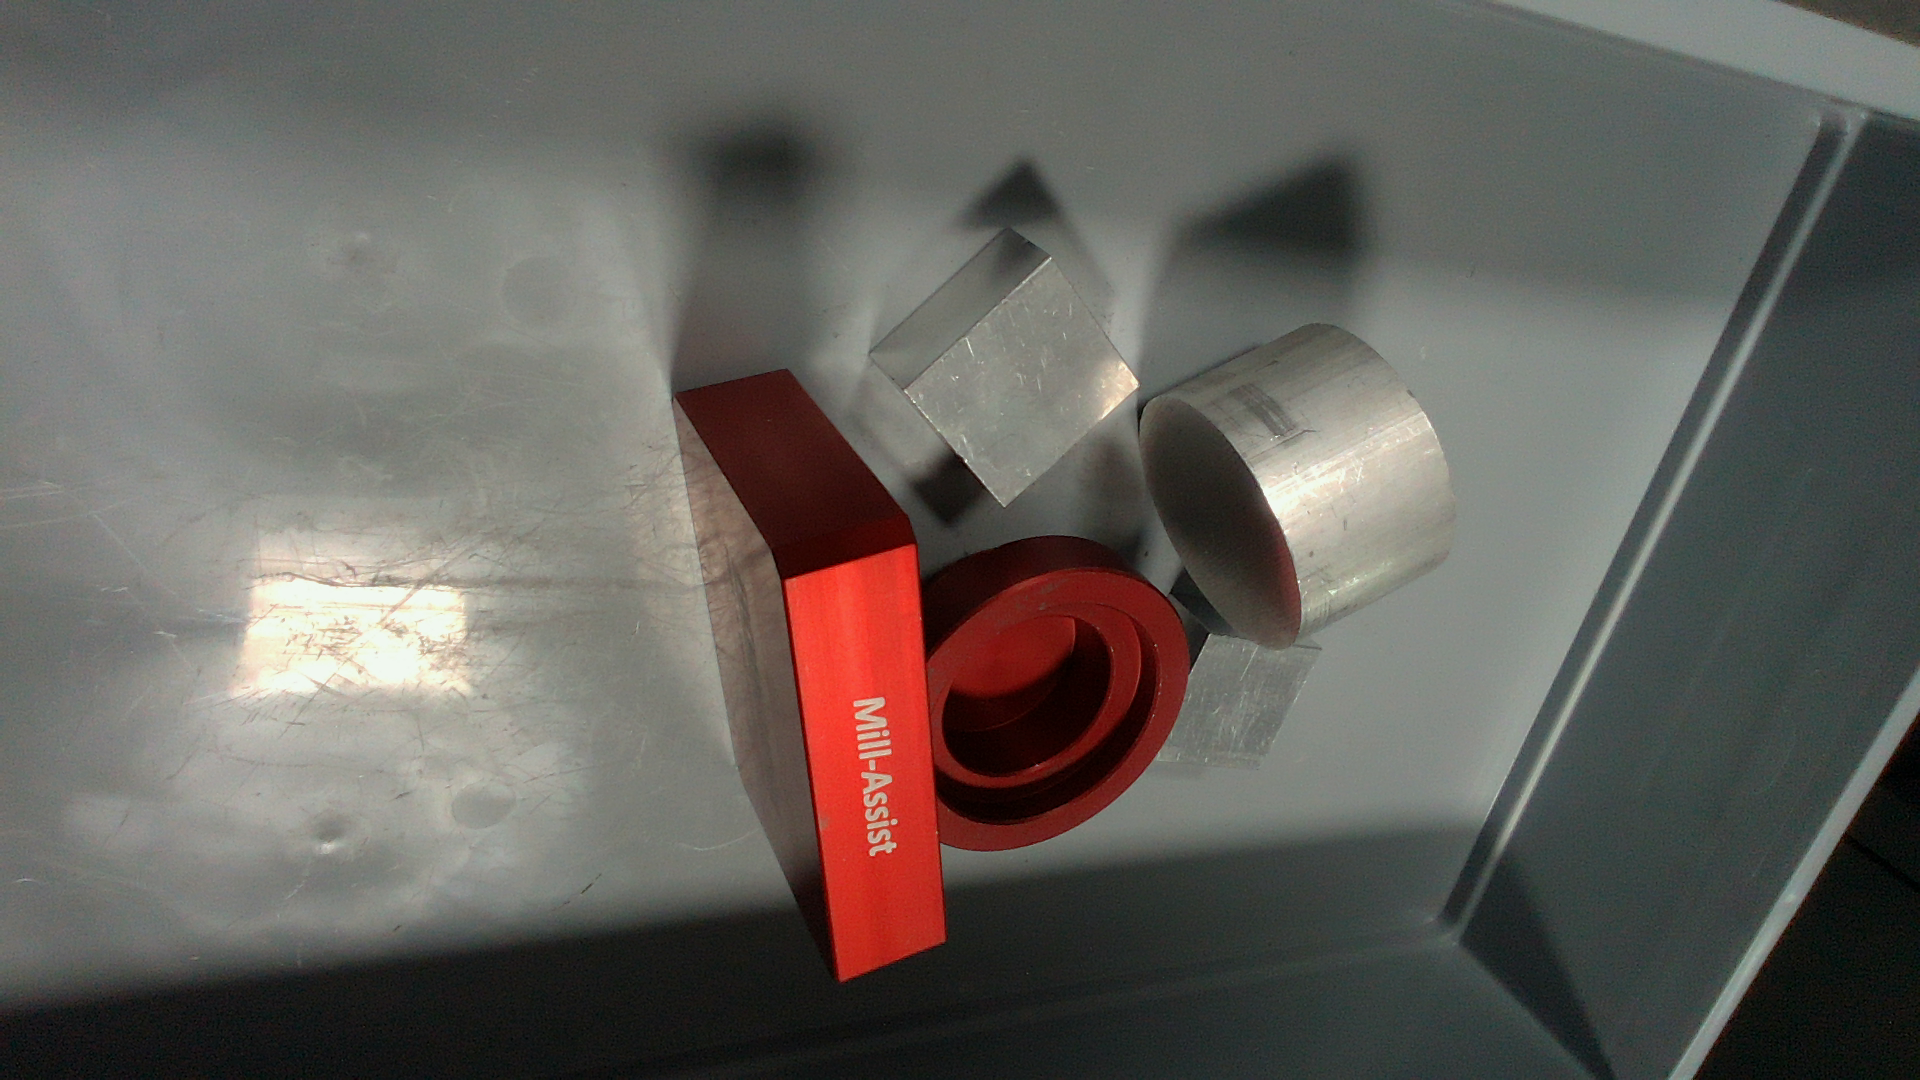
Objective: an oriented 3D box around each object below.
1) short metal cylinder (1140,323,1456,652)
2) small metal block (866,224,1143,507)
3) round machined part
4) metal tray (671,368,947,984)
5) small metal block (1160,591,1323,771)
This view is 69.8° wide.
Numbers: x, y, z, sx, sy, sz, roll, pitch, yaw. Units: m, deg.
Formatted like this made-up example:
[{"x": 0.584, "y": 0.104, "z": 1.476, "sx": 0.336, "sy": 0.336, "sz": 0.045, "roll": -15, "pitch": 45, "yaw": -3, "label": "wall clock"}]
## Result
[{"x": 0.094, "y": -0.015, "z": 0.394, "sx": 0.050, "sy": 0.080, "sz": 0.080, "roll": -26, "pitch": 128, "yaw": -12, "label": "short metal cylinder"}, {"x": 0.012, "y": -0.046, "z": 0.366, "sx": 0.050, "sy": 0.025, "sz": 0.050, "roll": -42, "pitch": 128, "yaw": 1, "label": "small metal block"}, {"x": 0.016, "y": 0.042, "z": 0.409, "sx": 0.098, "sy": 0.042, "sz": 0.098, "roll": -14, "pitch": 124, "yaw": -21, "label": "round machined part"}, {"x": -0.038, "y": 0.034, "z": 0.346, "sx": 0.030, "sy": 0.090, "sz": 0.130, "roll": -16, "pitch": 125, "yaw": -19, "label": "metal tray"}, {"x": 0.086, "y": 0.048, "z": 0.464, "sx": 0.050, "sy": 0.025, "sz": 0.050, "roll": 10, "pitch": 113, "yaw": -31, "label": "small metal block"}]
